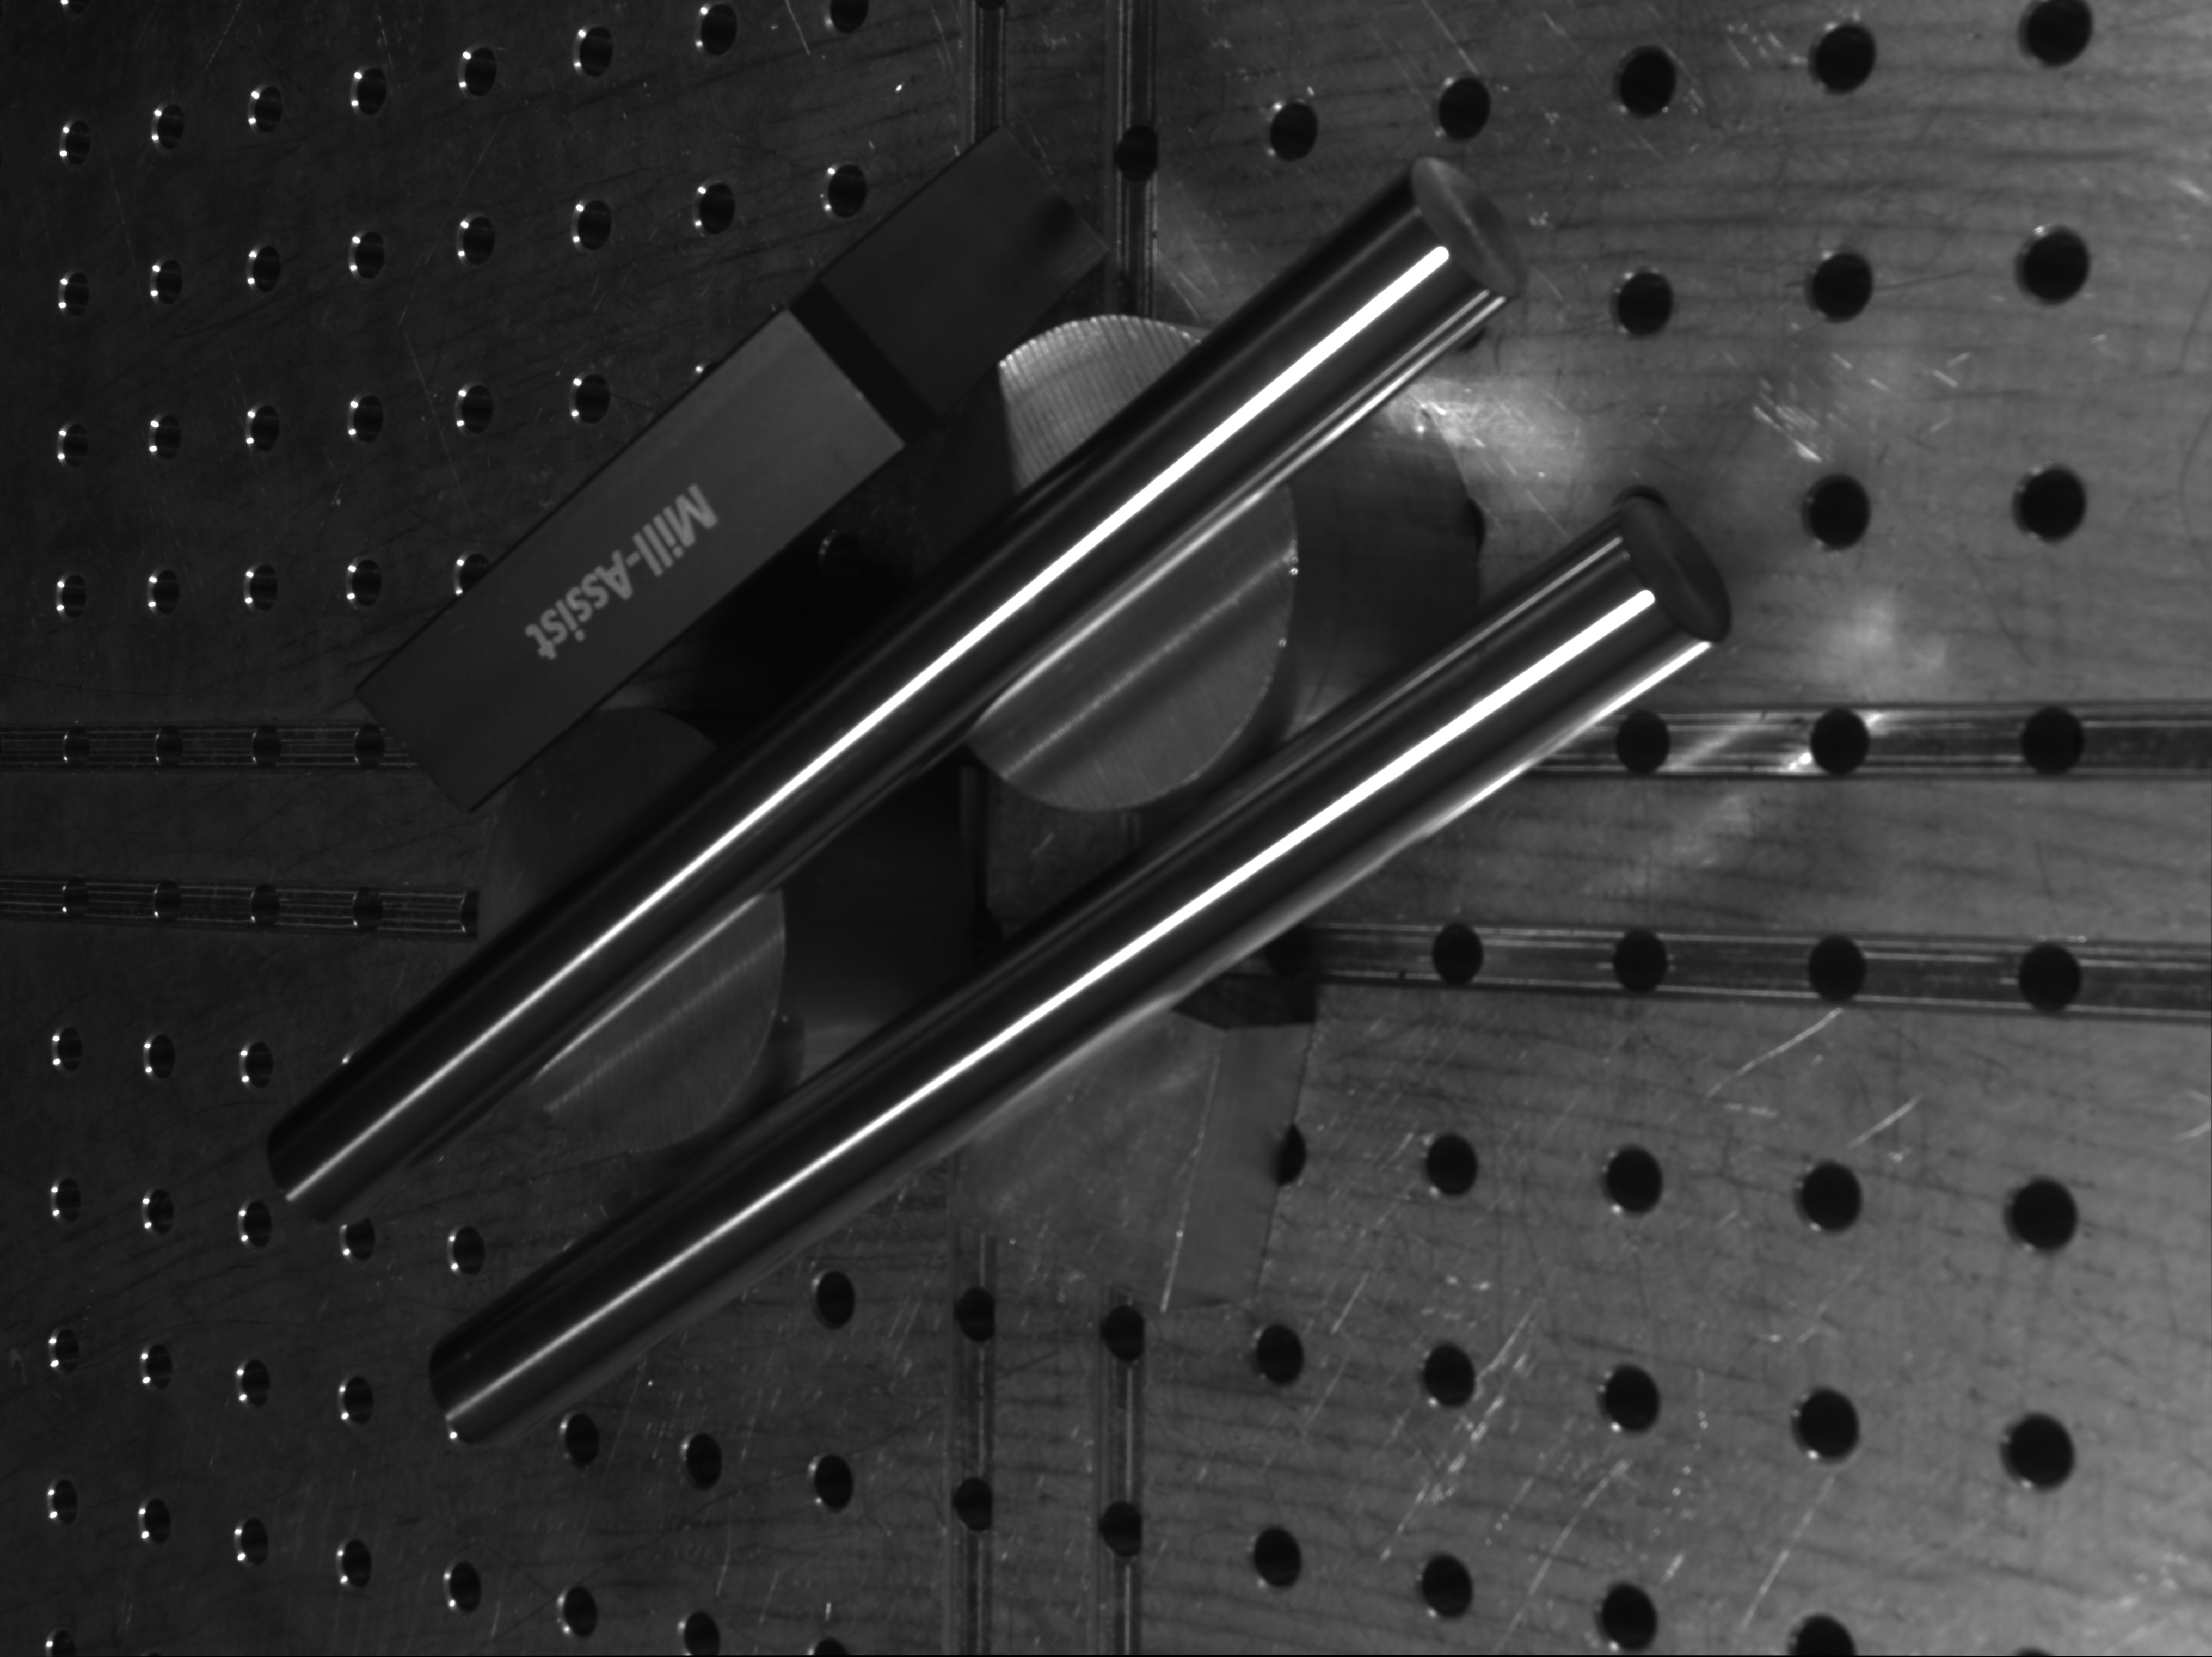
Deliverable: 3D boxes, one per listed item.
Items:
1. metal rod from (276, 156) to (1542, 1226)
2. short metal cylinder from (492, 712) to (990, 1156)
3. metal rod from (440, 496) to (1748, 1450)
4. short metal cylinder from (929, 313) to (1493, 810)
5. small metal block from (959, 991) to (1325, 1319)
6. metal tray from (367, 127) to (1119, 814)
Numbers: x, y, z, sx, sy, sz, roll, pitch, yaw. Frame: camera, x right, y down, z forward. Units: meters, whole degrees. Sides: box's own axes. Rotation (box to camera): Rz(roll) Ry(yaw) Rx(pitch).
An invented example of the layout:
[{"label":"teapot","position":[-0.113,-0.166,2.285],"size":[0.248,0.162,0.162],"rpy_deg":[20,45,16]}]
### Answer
[{"label":"metal rod","position":[-0.046,-0.012,0.611],"size":[0.299,0.025,0.025],"rpy_deg":[-37,67,33]},{"label":"short metal cylinder","position":[-0.068,0.019,0.679],"size":[0.080,0.050,0.080],"rpy_deg":[0,90,39]},{"label":"metal rod","position":[-0.016,0.035,0.618],"size":[0.299,0.025,0.025],"rpy_deg":[-36,68,34]},{"label":"short metal cylinder","position":[0.017,-0.043,0.610],"size":[0.080,0.050,0.080],"rpy_deg":[0,90,39]},{"label":"small metal block","position":[0.006,0.052,0.633],"size":[0.050,0.025,0.050],"rpy_deg":[19,102,38]},{"label":"metal tray","position":[-0.064,-0.063,0.648],"size":[0.130,0.090,0.030],"rpy_deg":[-36,100,34]}]
